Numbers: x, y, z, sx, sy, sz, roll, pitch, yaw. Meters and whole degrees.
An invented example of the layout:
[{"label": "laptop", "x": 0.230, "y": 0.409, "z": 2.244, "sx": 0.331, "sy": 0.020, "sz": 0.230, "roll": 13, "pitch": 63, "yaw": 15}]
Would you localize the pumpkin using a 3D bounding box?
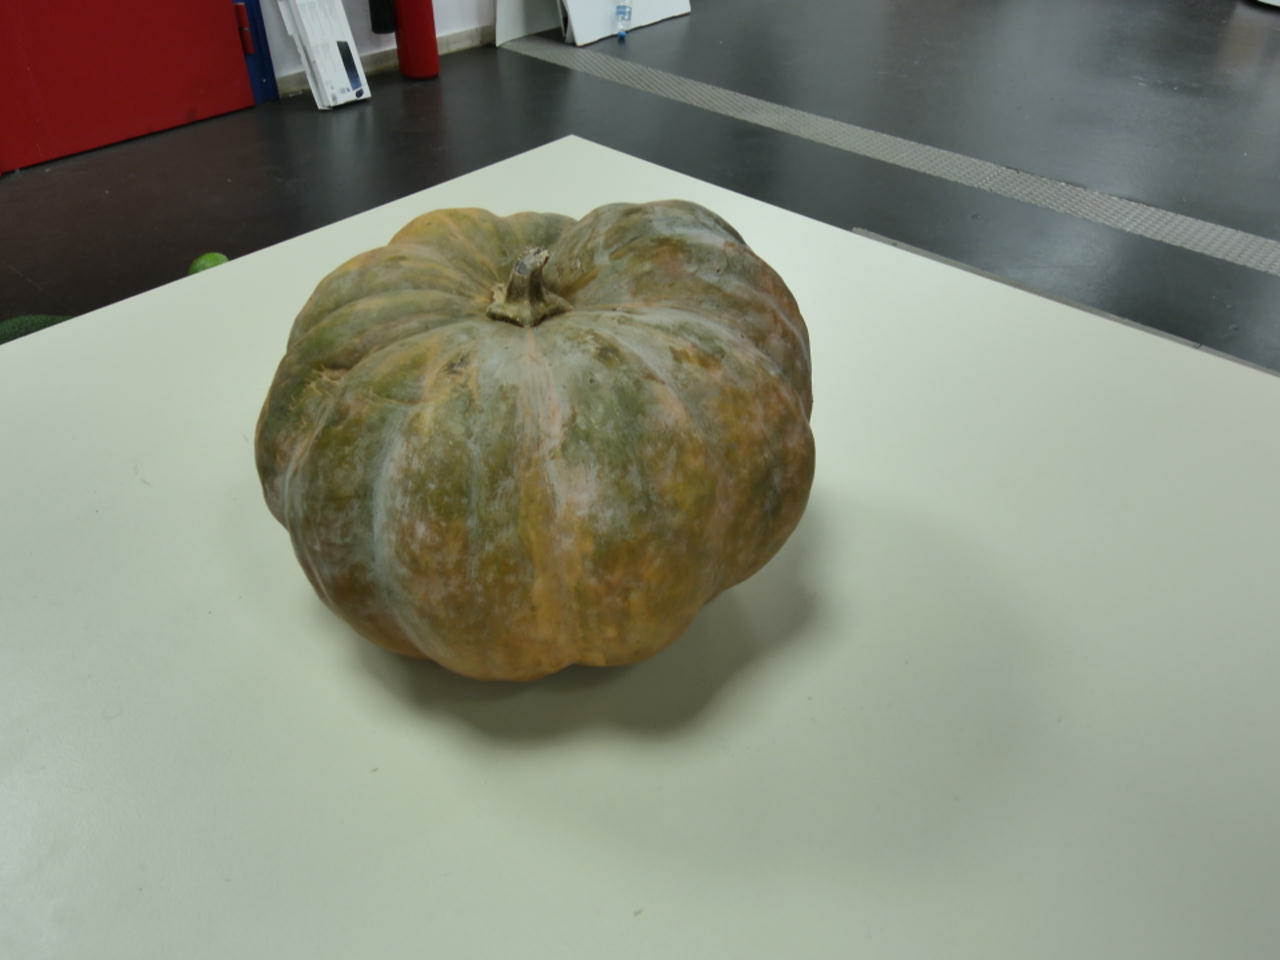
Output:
[{"label": "pumpkin", "x": -0.044, "y": -0.025, "z": 0.449, "sx": 0.252, "sy": 0.169, "sz": 0.251, "roll": 0, "pitch": 37, "yaw": 0}]
